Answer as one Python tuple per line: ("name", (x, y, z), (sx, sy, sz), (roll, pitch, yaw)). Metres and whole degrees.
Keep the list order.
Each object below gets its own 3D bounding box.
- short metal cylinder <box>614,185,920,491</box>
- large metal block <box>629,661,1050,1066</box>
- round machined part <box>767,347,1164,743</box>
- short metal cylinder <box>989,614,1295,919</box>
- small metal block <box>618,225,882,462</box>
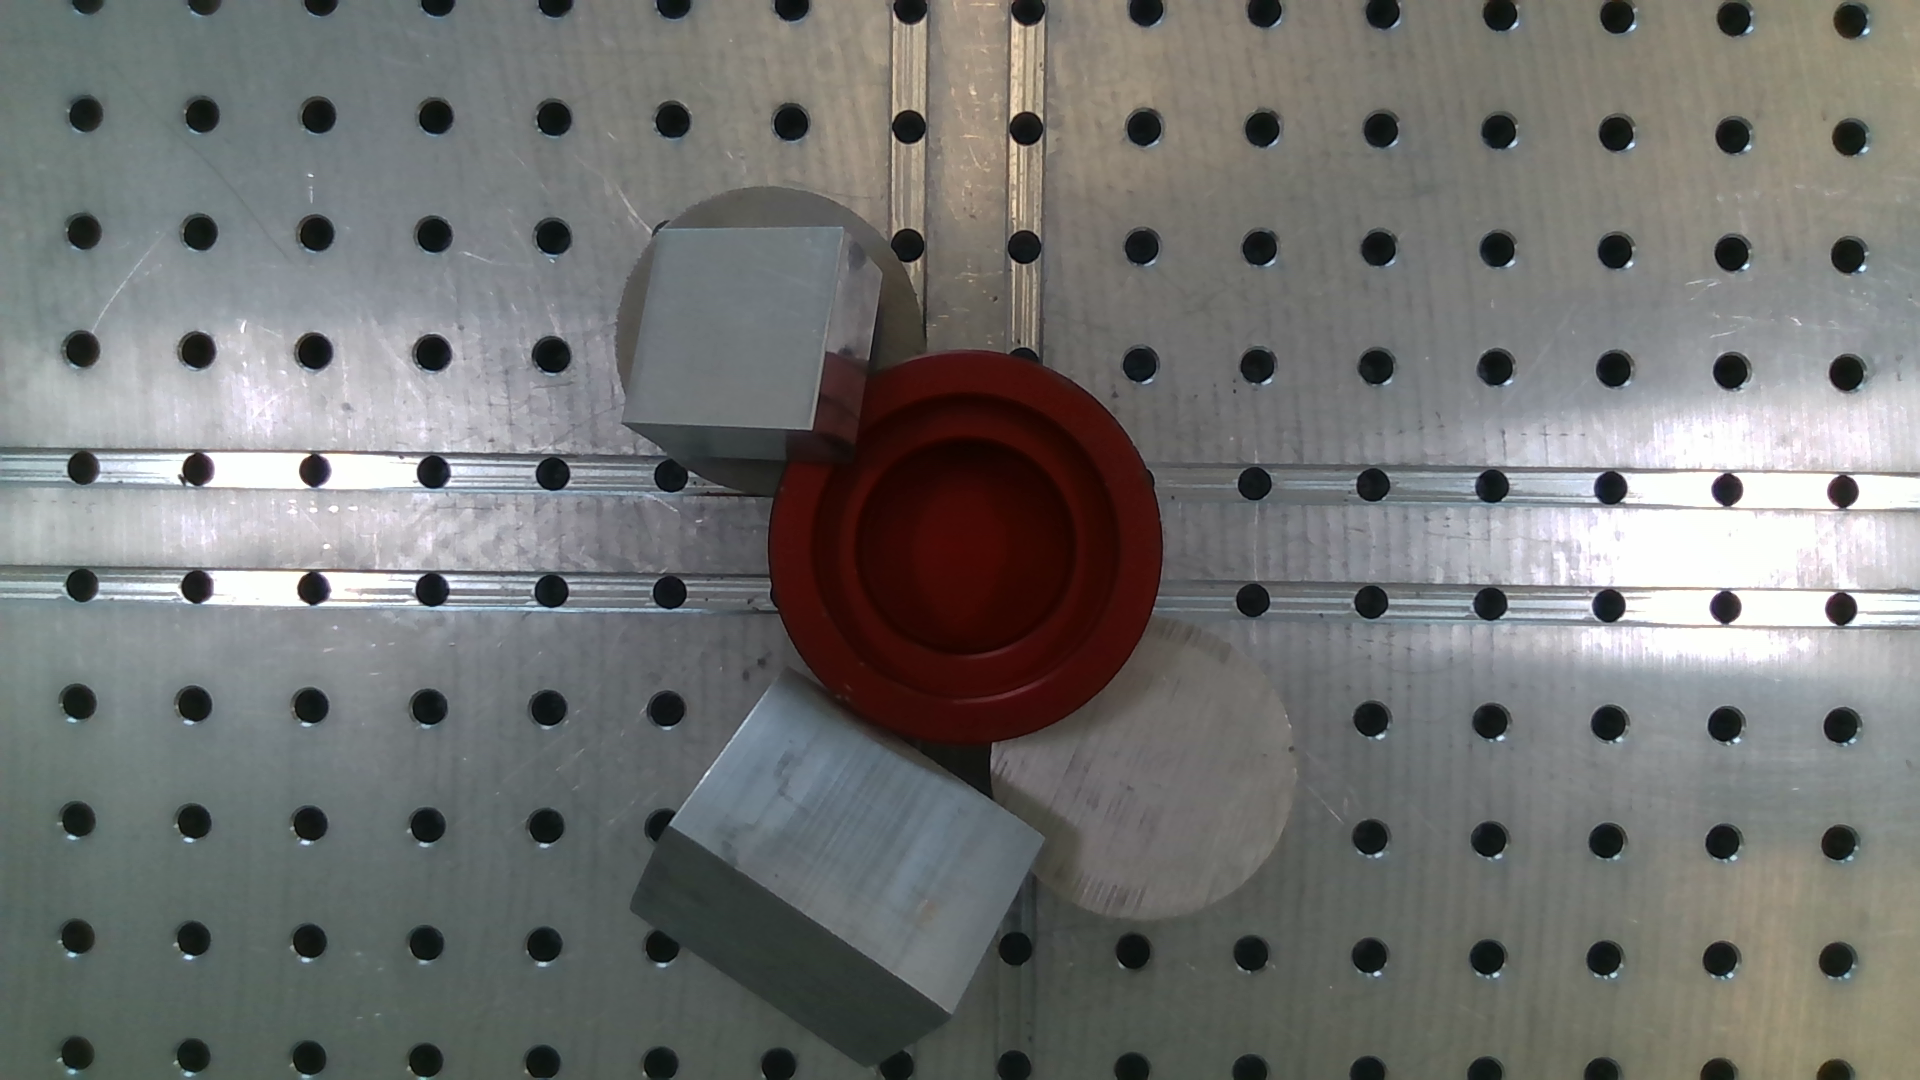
("short metal cylinder", (-0.051, -0.053, 0.385), (0.080, 0.050, 0.080), (0, 90, 0))
("large metal block", (-0.035, 0.088, 0.364), (0.080, 0.080, 0.050), (34, 56, 0))
("round machined part", (0.001, 0.001, 0.360), (0.098, 0.042, 0.098), (0, 90, 0))
("short metal cylinder", (0.048, 0.059, 0.385), (0.080, 0.050, 0.080), (0, 90, 0))
("small metal block", (-0.050, -0.048, 0.335), (0.050, 0.025, 0.050), (4, 77, 19))
